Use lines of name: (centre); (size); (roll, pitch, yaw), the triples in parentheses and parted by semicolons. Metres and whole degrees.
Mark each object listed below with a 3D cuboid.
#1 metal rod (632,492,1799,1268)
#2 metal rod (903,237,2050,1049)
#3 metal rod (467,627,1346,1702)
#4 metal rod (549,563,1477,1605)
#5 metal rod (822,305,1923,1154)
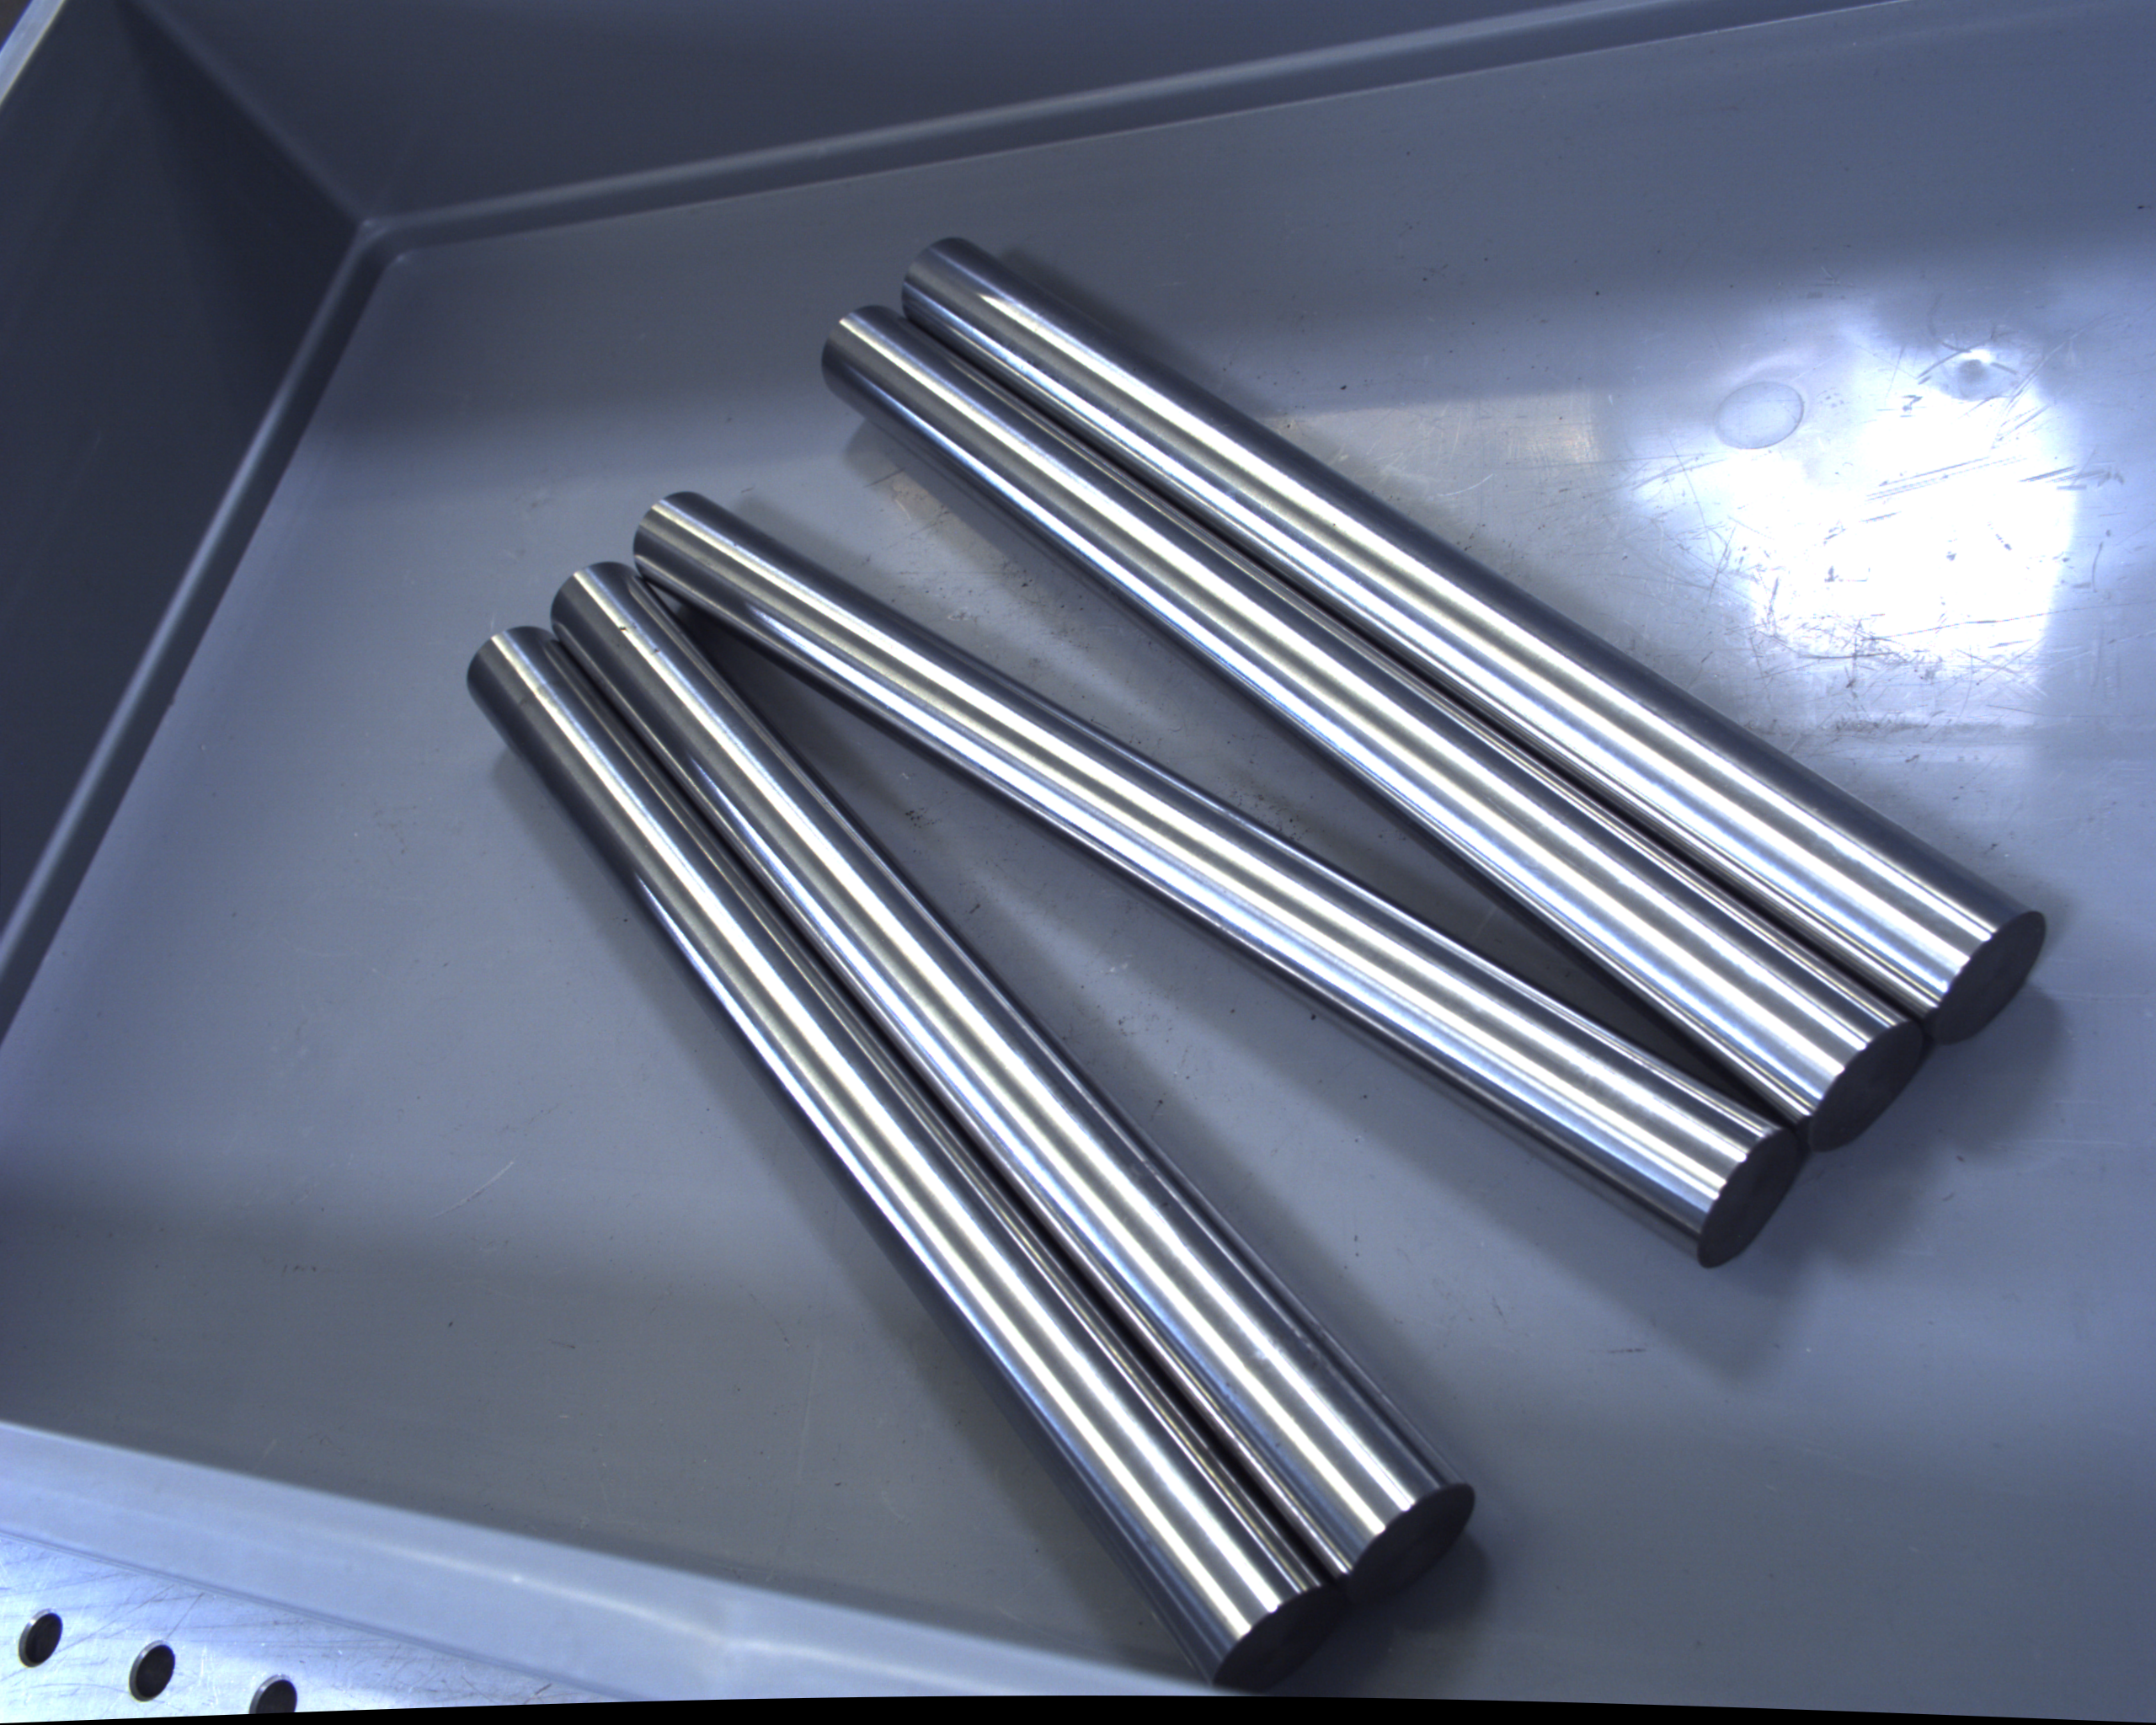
metal rod: (0.003, -0.013, 0.411); (0.300, 0.025, 0.025); (33, 80, 38)
metal rod: (0.054, -0.061, 0.413); (0.025, 0.025, 0.300); (-45, 51, -3)
metal rod: (-0.052, 0.036, 0.410); (0.025, 0.025, 0.300); (-44, 51, -2)
metal rod: (-0.032, 0.021, 0.409); (0.025, 0.025, 0.300); (-44, 51, -2)
metal rod: (0.035, -0.044, 0.413); (0.025, 0.025, 0.300); (-45, 51, -3)
